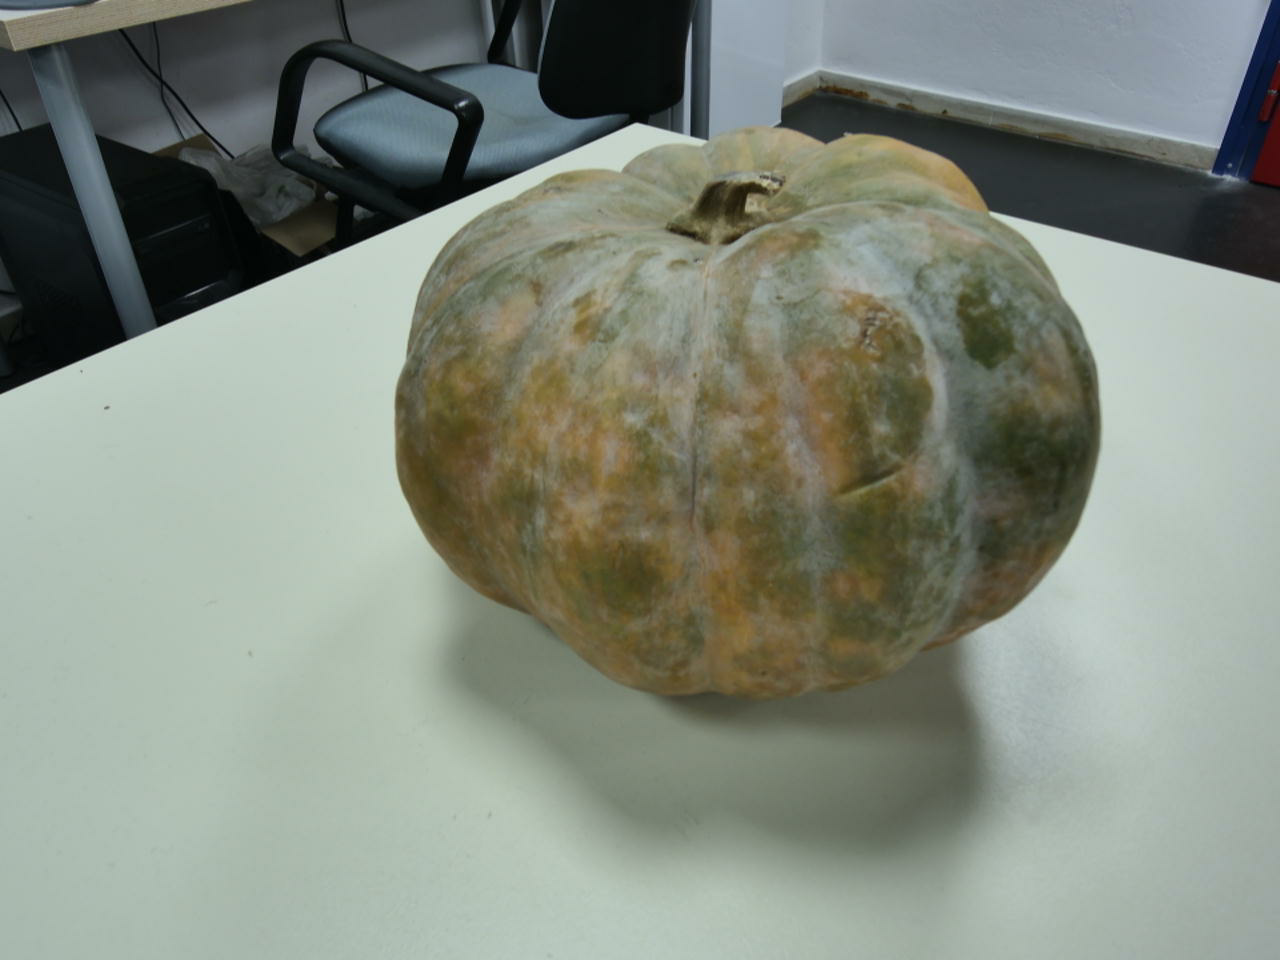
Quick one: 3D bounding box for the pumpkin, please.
[{"bbox_3d":[0.033,-0.034,0.368,0.252,0.169,0.251,0,36,0],"label":"pumpkin"}]
